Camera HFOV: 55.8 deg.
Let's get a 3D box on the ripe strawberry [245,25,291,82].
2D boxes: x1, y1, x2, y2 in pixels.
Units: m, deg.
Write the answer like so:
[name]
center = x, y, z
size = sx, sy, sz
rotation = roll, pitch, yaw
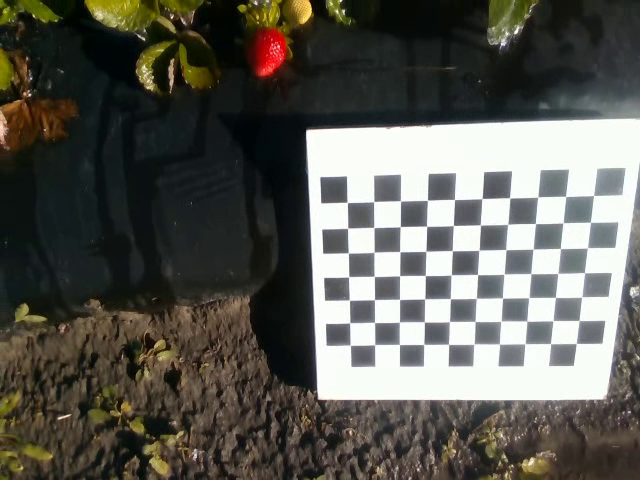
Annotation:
[ripe strawberry]
center = -0.035, -0.119, 0.397
size = 0.039, 0.039, 0.040
rotation = -7, -45, 16
